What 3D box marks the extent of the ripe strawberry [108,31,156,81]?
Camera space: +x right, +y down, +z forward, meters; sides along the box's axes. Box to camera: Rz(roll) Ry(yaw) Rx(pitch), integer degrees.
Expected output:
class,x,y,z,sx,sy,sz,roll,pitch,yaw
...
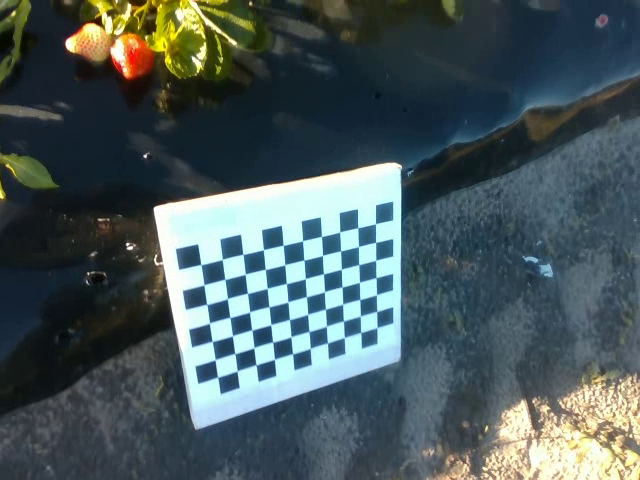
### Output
class,x,y,z,sx,sy,sz,roll,pitch,yaw
ripe strawberry,-0.164,-0.156,0.544,0.040,0.038,0.056,-16,32,9
